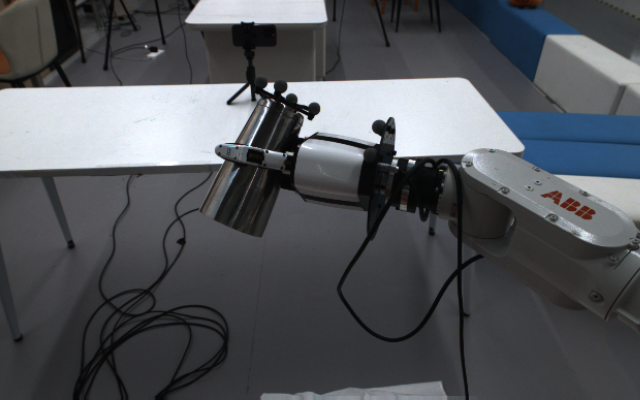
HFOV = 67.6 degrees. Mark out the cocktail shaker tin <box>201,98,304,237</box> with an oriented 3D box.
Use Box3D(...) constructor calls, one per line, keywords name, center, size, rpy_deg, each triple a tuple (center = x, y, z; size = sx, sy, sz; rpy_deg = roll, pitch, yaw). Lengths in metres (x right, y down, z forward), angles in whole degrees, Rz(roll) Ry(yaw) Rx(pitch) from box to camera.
Box3D(name="cocktail shaker tin", center=(-0.084, -0.048, 0.649), size=(0.093, 0.170, 0.093), rpy_deg=(23, 0, 0))
